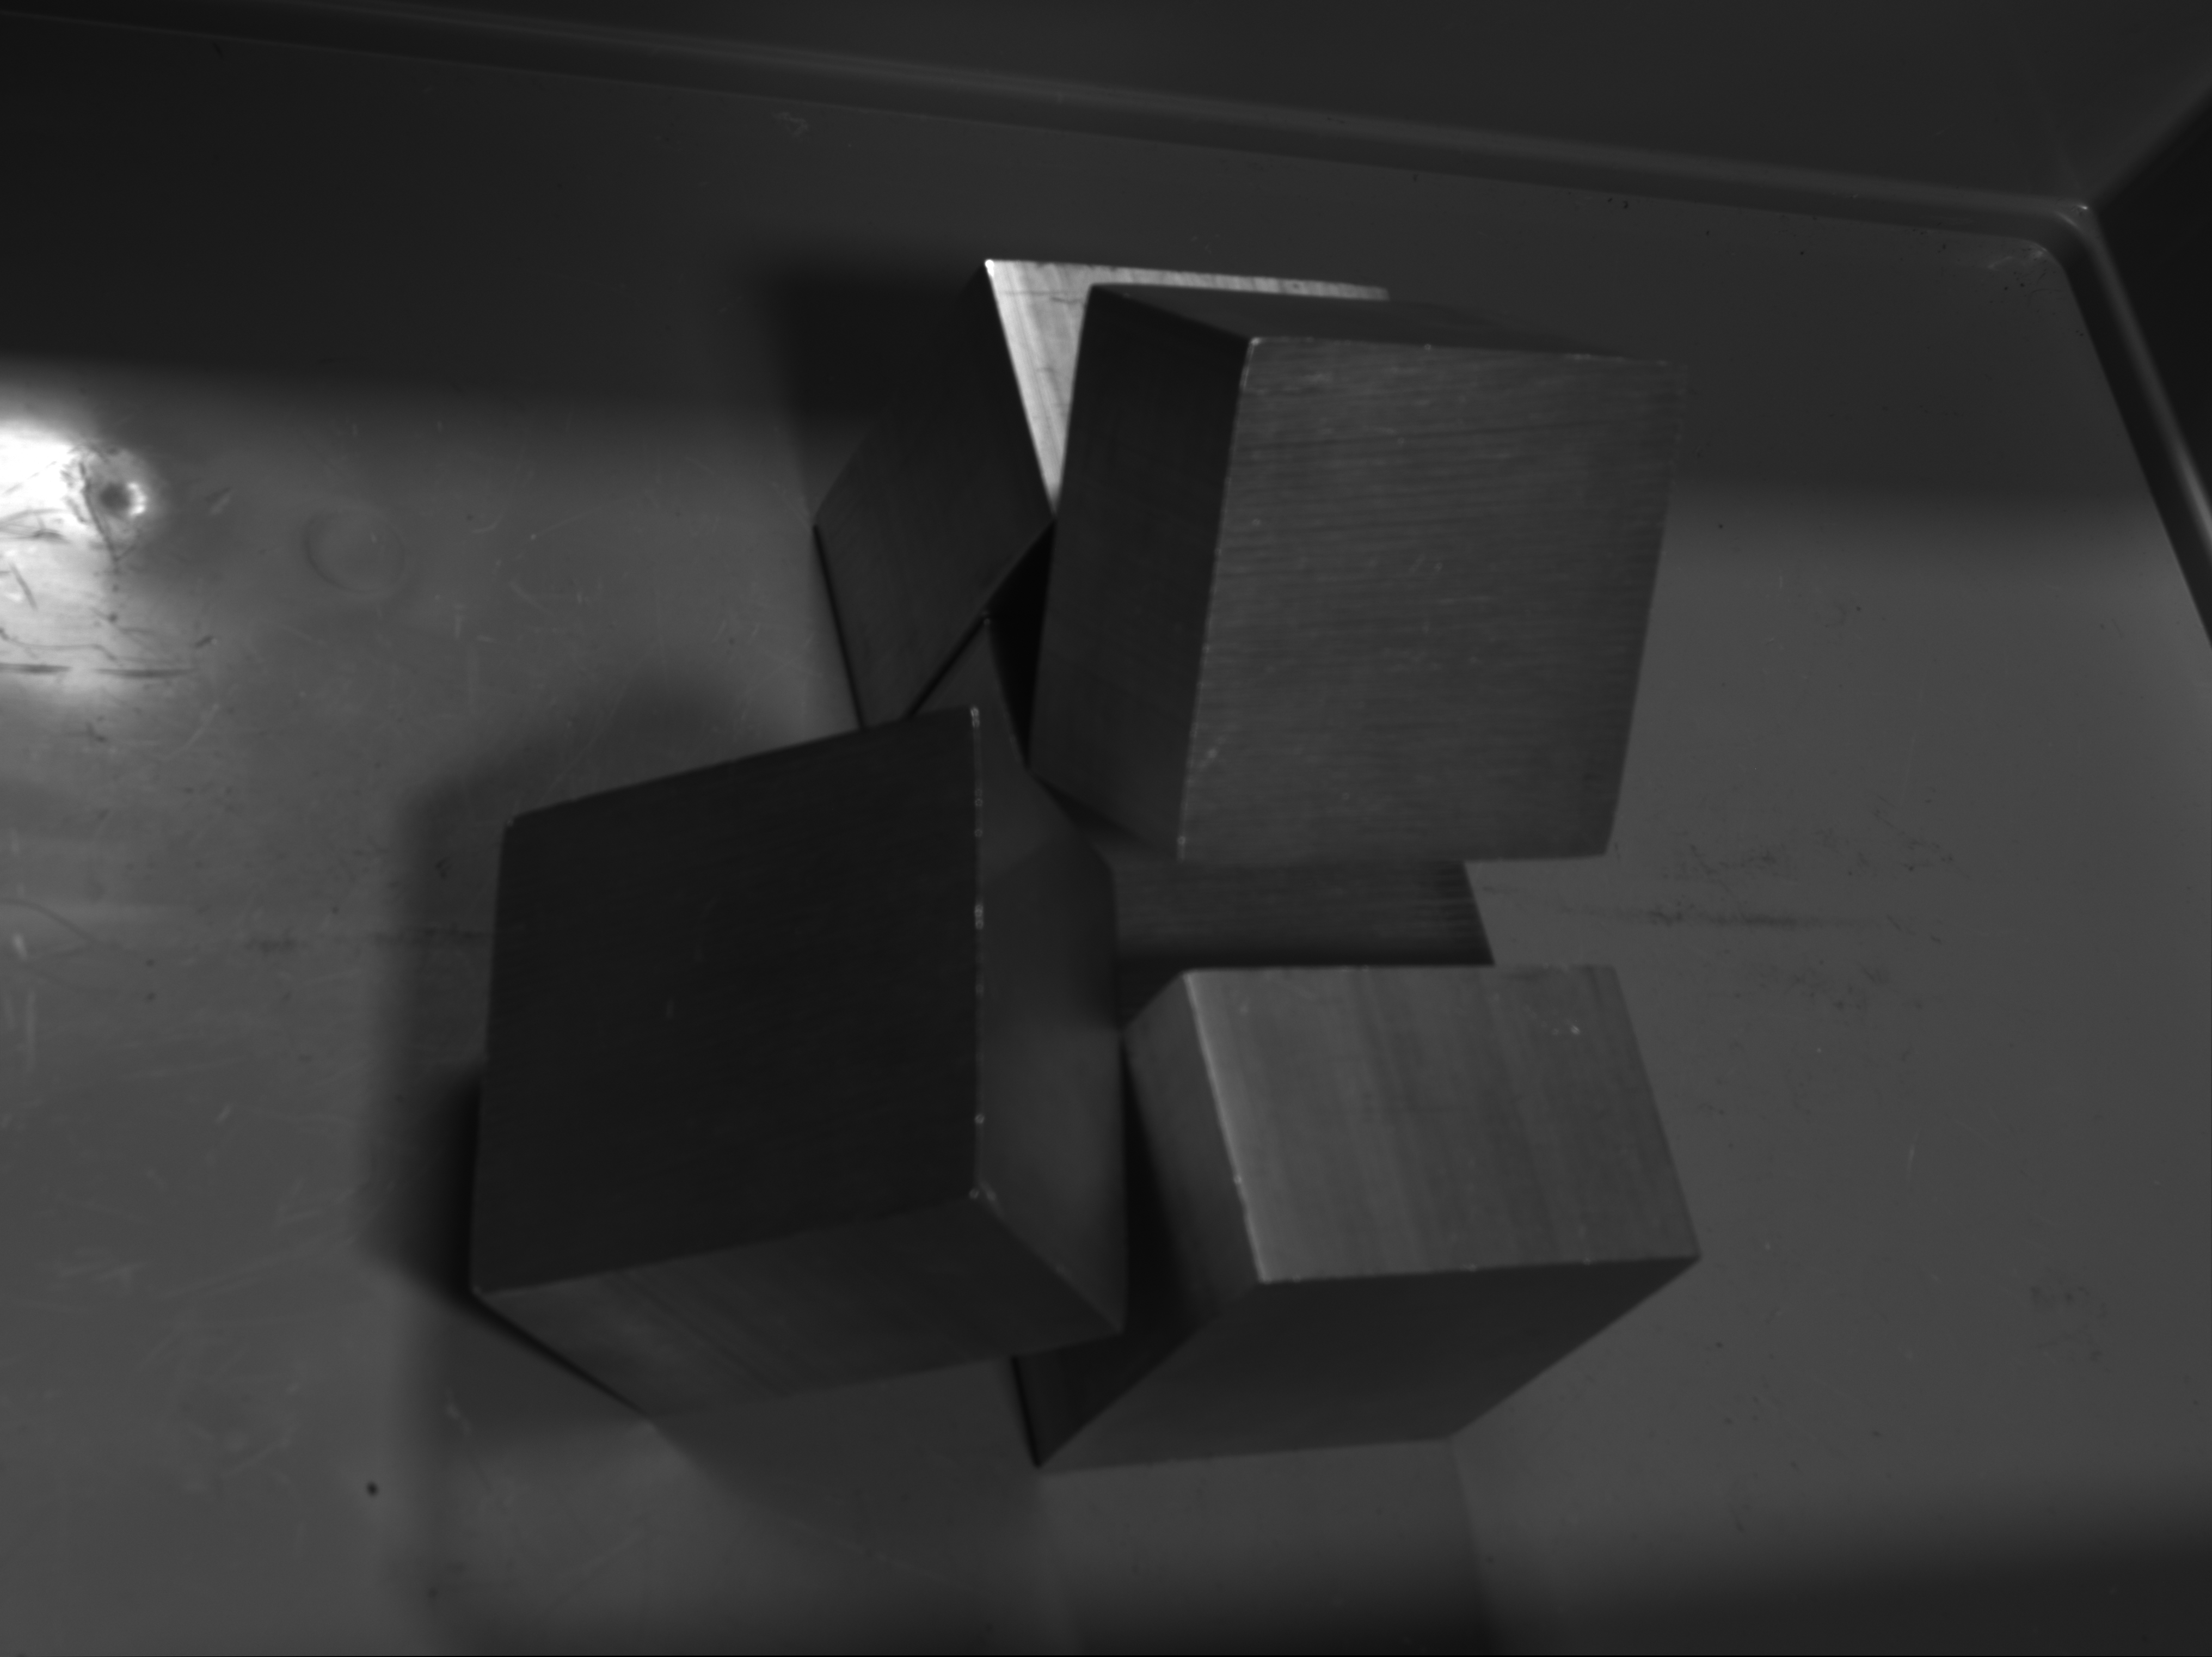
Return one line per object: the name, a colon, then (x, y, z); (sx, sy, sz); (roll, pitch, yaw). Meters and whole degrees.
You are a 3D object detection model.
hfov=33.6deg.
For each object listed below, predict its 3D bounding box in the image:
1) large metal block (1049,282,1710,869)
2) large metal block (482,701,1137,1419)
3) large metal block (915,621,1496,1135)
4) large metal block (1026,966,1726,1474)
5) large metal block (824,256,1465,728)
large metal block: (0.041, -0.040, 0.577); (0.080, 0.080, 0.050); (-1, 17, -29)
large metal block: (-0.043, 0.036, 0.548); (0.050, 0.080, 0.080); (50, 32, -53)
large metal block: (0.014, 0.013, 0.625); (0.080, 0.050, 0.080); (-1, 62, -28)
large metal block: (0.038, 0.063, 0.584); (0.080, 0.080, 0.050); (1, 61, -28)
large metal block: (0.007, -0.053, 0.638); (0.080, 0.080, 0.050); (-1, 62, -29)
